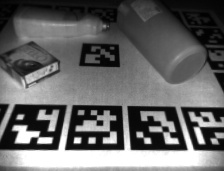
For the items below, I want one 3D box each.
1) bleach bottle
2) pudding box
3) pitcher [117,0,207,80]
[{"bbox_3d":[-0.134,-0.194,0.628,0.252,0.068,0.102,-1,51,-8],"label":"bleach bottle"},{"bbox_3d":[-0.187,-0.063,0.510,0.112,0.039,0.091,36,49,24],"label":"pudding box"},{"bbox_3d":[0.130,-0.129,0.565,0.191,0.133,0.240,8,41,-46],"label":"pitcher"}]
